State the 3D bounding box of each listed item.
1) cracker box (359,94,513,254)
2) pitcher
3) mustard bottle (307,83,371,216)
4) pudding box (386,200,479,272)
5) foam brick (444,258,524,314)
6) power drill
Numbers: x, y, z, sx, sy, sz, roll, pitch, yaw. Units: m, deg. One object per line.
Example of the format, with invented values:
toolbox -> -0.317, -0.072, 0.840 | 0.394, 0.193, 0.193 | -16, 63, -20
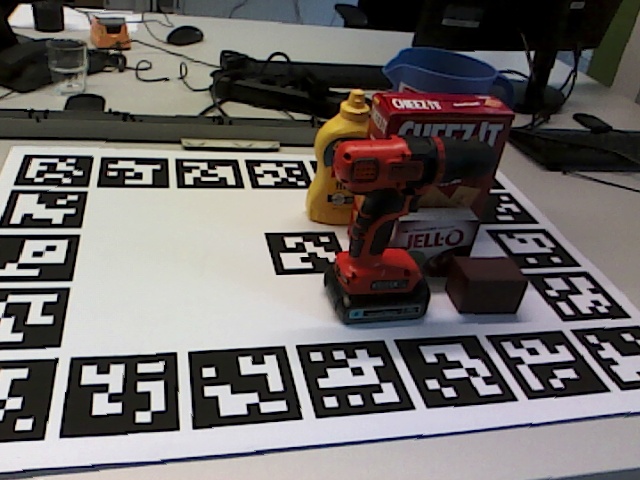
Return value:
cracker box -> 0.143, -0.077, 0.808 | 0.164, 0.213, 0.072 | -4, 33, -14
pitcher -> 0.169, -0.139, 0.898 | 0.188, 0.242, 0.134 | 1, 34, -7
mustard bottle -> 0.038, -0.128, 0.874 | 0.096, 0.191, 0.058 | 7, 34, -2
pudding box -> 0.139, -0.005, 0.796 | 0.113, 0.090, 0.039 | -2, 33, -11
foam brick -> 0.204, 0.058, 0.775 | 0.078, 0.051, 0.053 | 1, 36, -12
power drill -> 0.100, -0.027, 0.694 | 0.184, 0.187, 0.057 | -1, 31, -15
